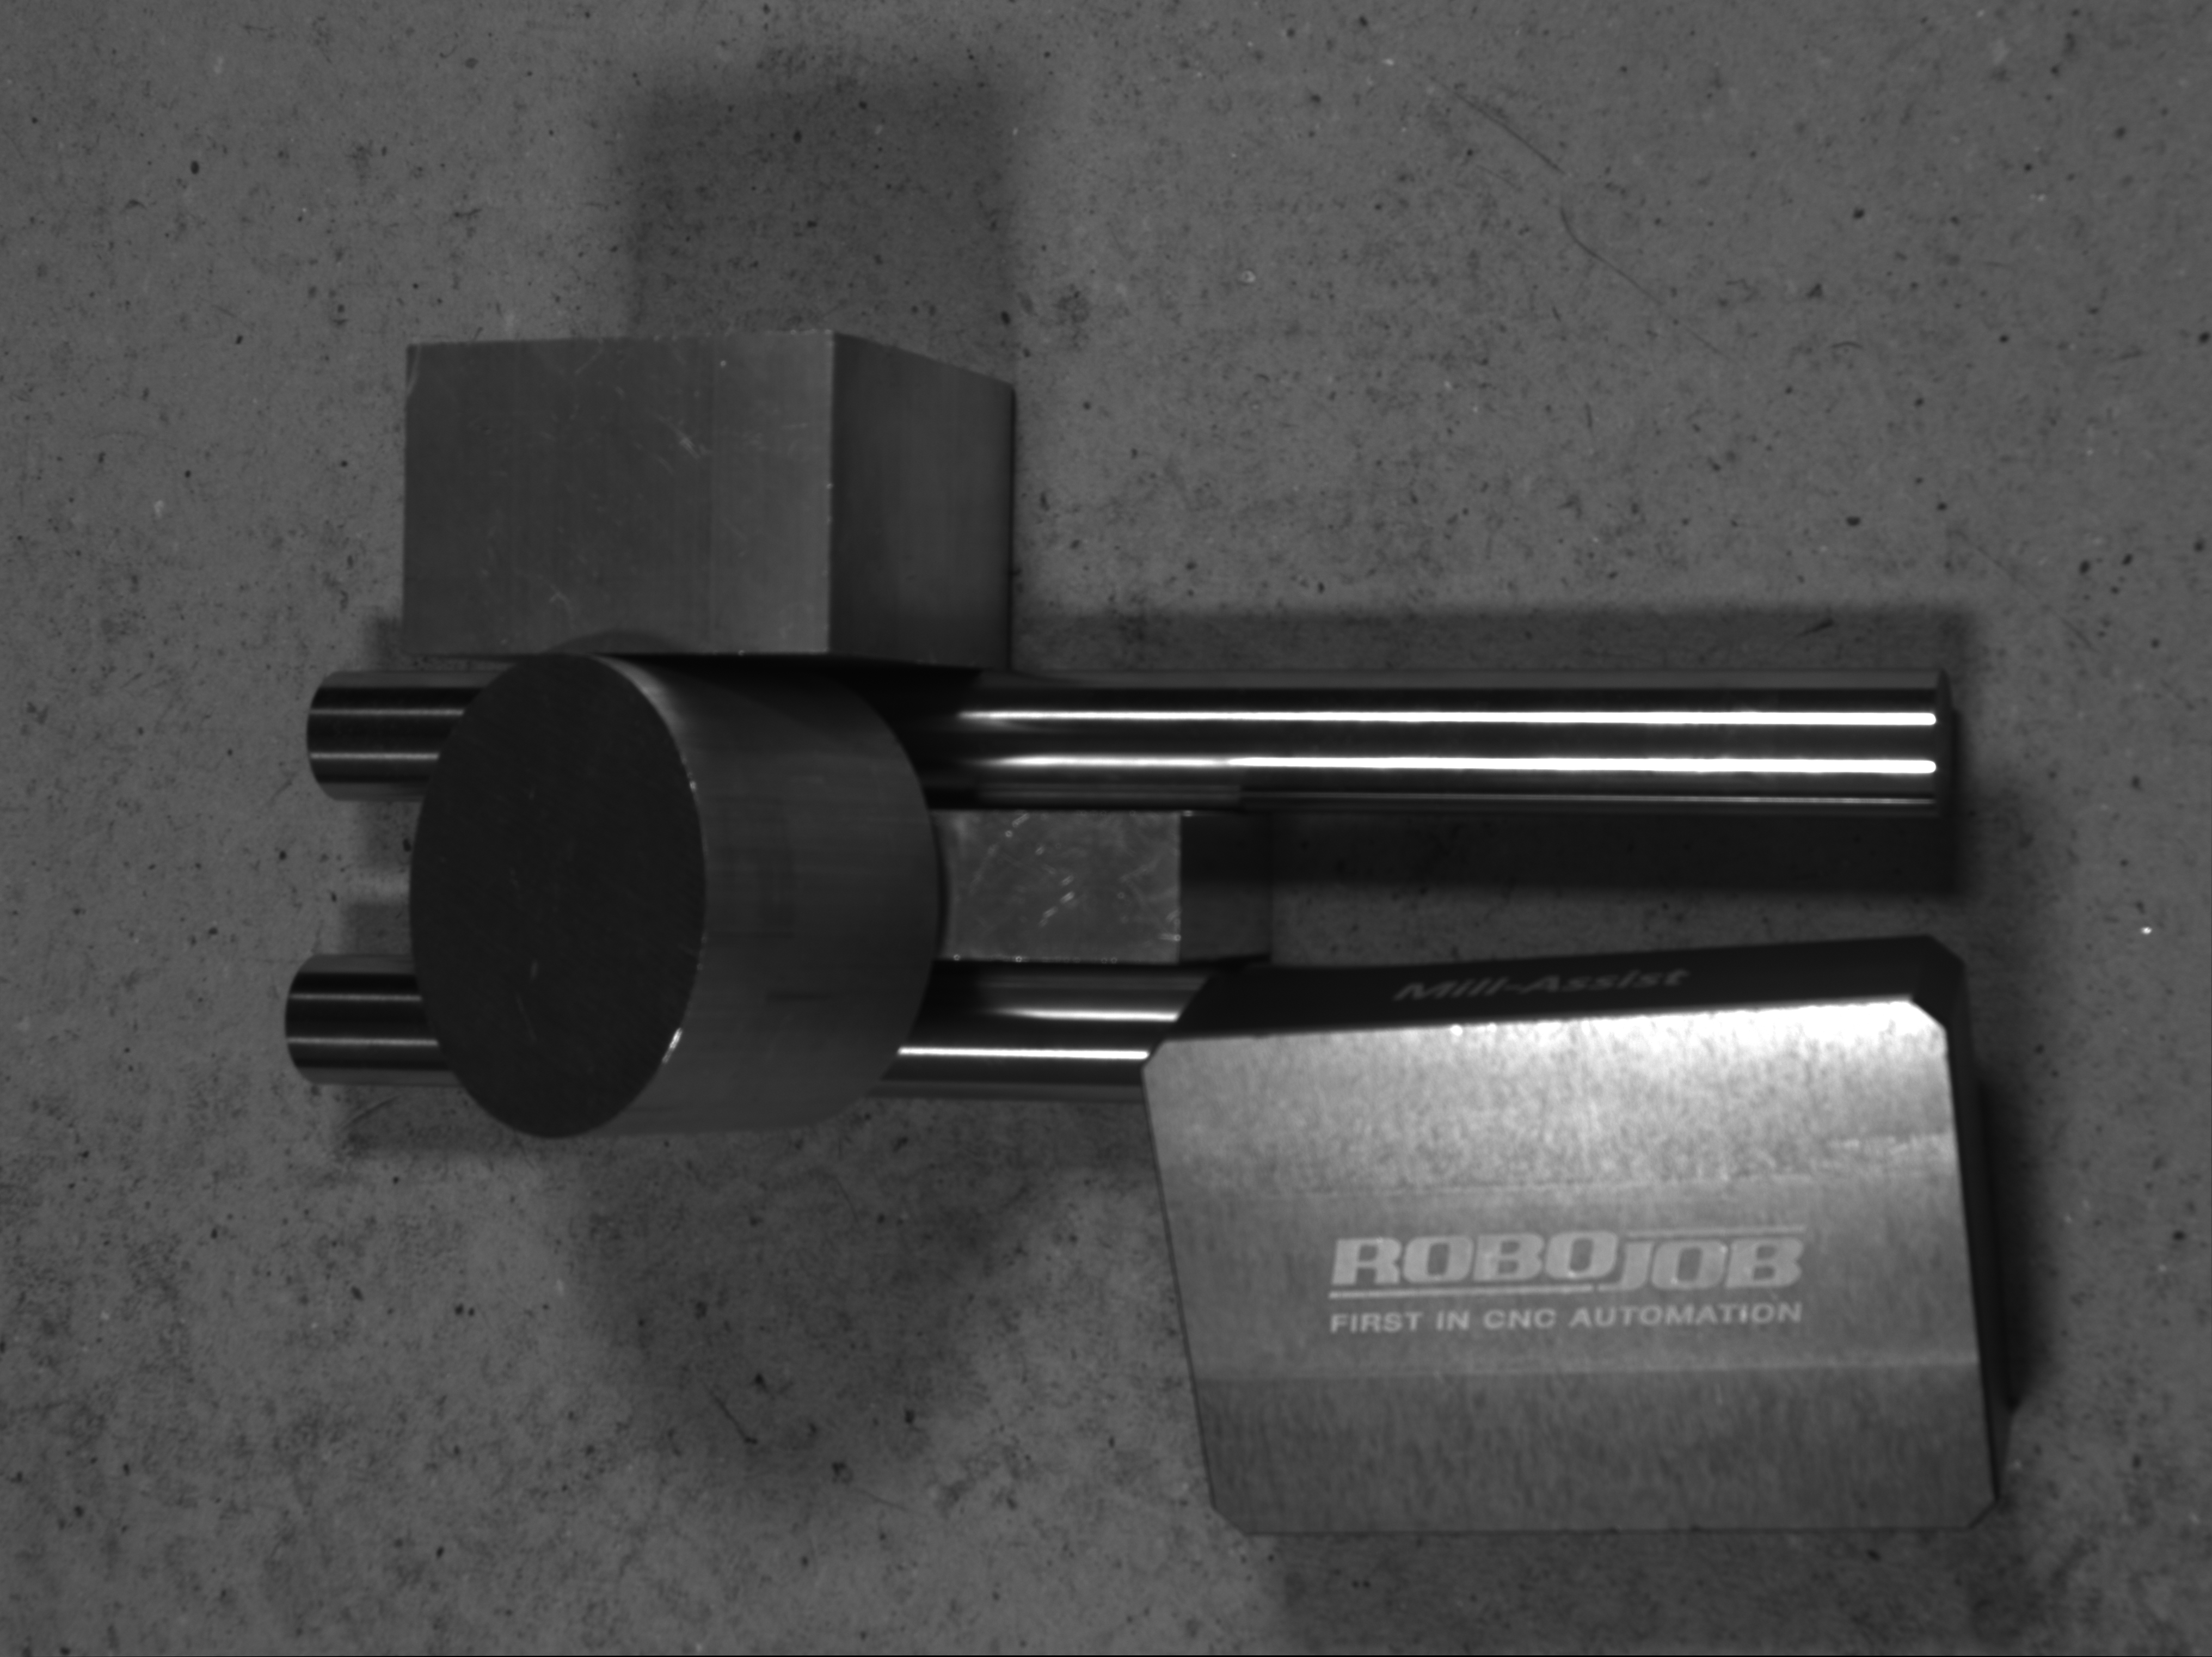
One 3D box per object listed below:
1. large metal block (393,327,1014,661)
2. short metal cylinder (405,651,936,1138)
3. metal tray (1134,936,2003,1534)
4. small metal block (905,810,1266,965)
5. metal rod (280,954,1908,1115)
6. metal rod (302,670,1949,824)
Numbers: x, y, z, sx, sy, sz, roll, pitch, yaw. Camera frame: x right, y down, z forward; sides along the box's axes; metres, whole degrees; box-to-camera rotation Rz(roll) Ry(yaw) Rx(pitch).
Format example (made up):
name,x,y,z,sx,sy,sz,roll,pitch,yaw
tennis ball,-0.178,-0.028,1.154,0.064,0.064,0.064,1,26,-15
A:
name,x,y,z,sx,sy,sz,roll,pitch,yaw
large metal block,-0.068,-0.056,0.640,0.080,0.080,0.050,1,90,20
short metal cylinder,-0.074,0.012,0.620,0.080,0.050,0.080,-3,86,44
metal tray,0.076,0.068,0.599,0.130,0.030,0.090,-4,106,18
small metal block,-0.004,0.010,0.632,0.050,0.050,0.025,1,90,20
metal rod,-0.010,0.036,0.648,0.299,0.025,0.025,0,90,20
metal rod,-0.005,-0.015,0.647,0.299,0.025,0.025,1,90,20
